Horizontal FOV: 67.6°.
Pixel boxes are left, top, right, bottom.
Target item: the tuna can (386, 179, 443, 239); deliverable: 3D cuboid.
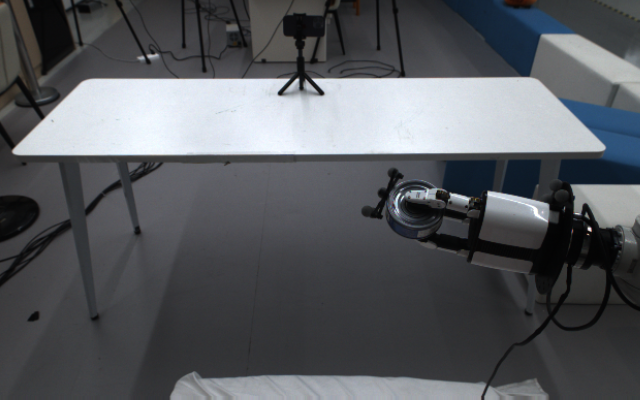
[{"bbox_3d":[0.143,0.012,0.717,0.085,0.034,0.085,-1,61,1],"label":"tuna can"}]
